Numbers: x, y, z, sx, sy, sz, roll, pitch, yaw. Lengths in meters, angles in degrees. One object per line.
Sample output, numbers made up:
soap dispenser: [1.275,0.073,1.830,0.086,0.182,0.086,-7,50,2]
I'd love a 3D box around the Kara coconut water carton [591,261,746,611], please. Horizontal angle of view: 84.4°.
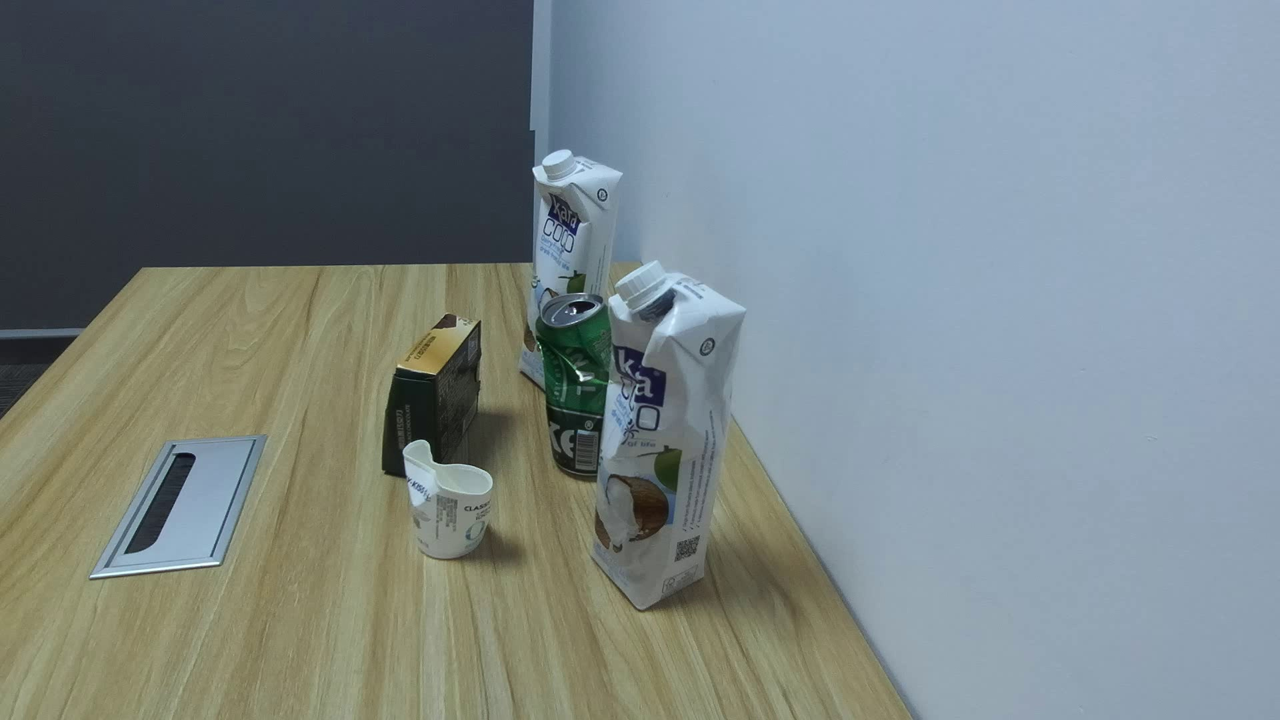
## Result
Kara coconut water carton: [0.013,0.048,0.477,0.078,0.255,0.083,-11,34,-22]

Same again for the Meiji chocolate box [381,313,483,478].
Meiji chocolate box: [-0.185,0.028,0.630,0.058,0.110,0.113,11,30,0]

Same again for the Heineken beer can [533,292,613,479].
Heineken beer can: [-0.045,0.023,0.619,0.079,0.159,0.067,-8,28,-8]

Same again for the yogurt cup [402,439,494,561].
yogurt cup: [-0.145,0.107,0.539,0.075,0.071,0.053,8,30,5]

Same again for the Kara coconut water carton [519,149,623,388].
Kara coconut water carton: [-0.070,-0.088,0.713,0.071,0.244,0.099,-18,36,-36]
